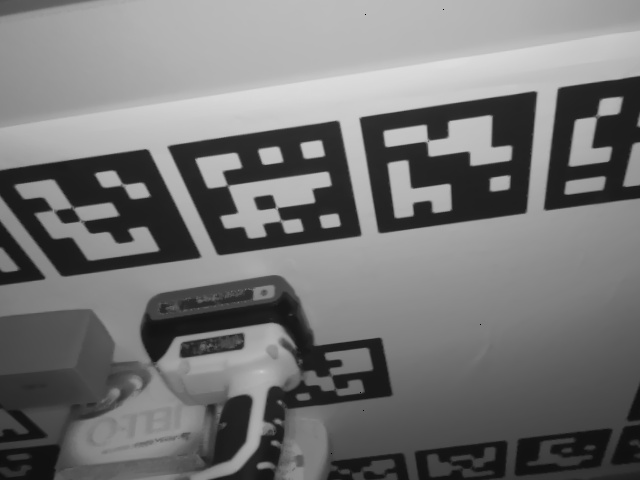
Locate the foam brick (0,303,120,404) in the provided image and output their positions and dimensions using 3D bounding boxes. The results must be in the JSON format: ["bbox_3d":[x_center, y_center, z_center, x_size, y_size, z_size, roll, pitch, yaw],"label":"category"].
[{"bbox_3d":[-0.203,0.088,0.539,0.078,0.052,0.052,-6,132,2],"label":"foam brick"}]

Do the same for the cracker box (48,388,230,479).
[{"bbox_3d":[-0.133,0.221,0.550,0.164,0.215,0.071,-10,135,4],"label":"cracker box"}]

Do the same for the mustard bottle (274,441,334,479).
[{"bbox_3d":[-0.033,0.277,0.619,0.096,0.193,0.058,2,132,-5],"label":"mustard bottle"}]

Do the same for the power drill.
[{"bbox_3d":[-0.082,0.144,0.460,0.184,0.188,0.057,-8,137,5],"label":"power drill"}]

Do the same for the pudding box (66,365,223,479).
[{"bbox_3d":[-0.135,0.148,0.556,0.114,0.090,0.038,-9,135,1],"label":"pudding box"}]
